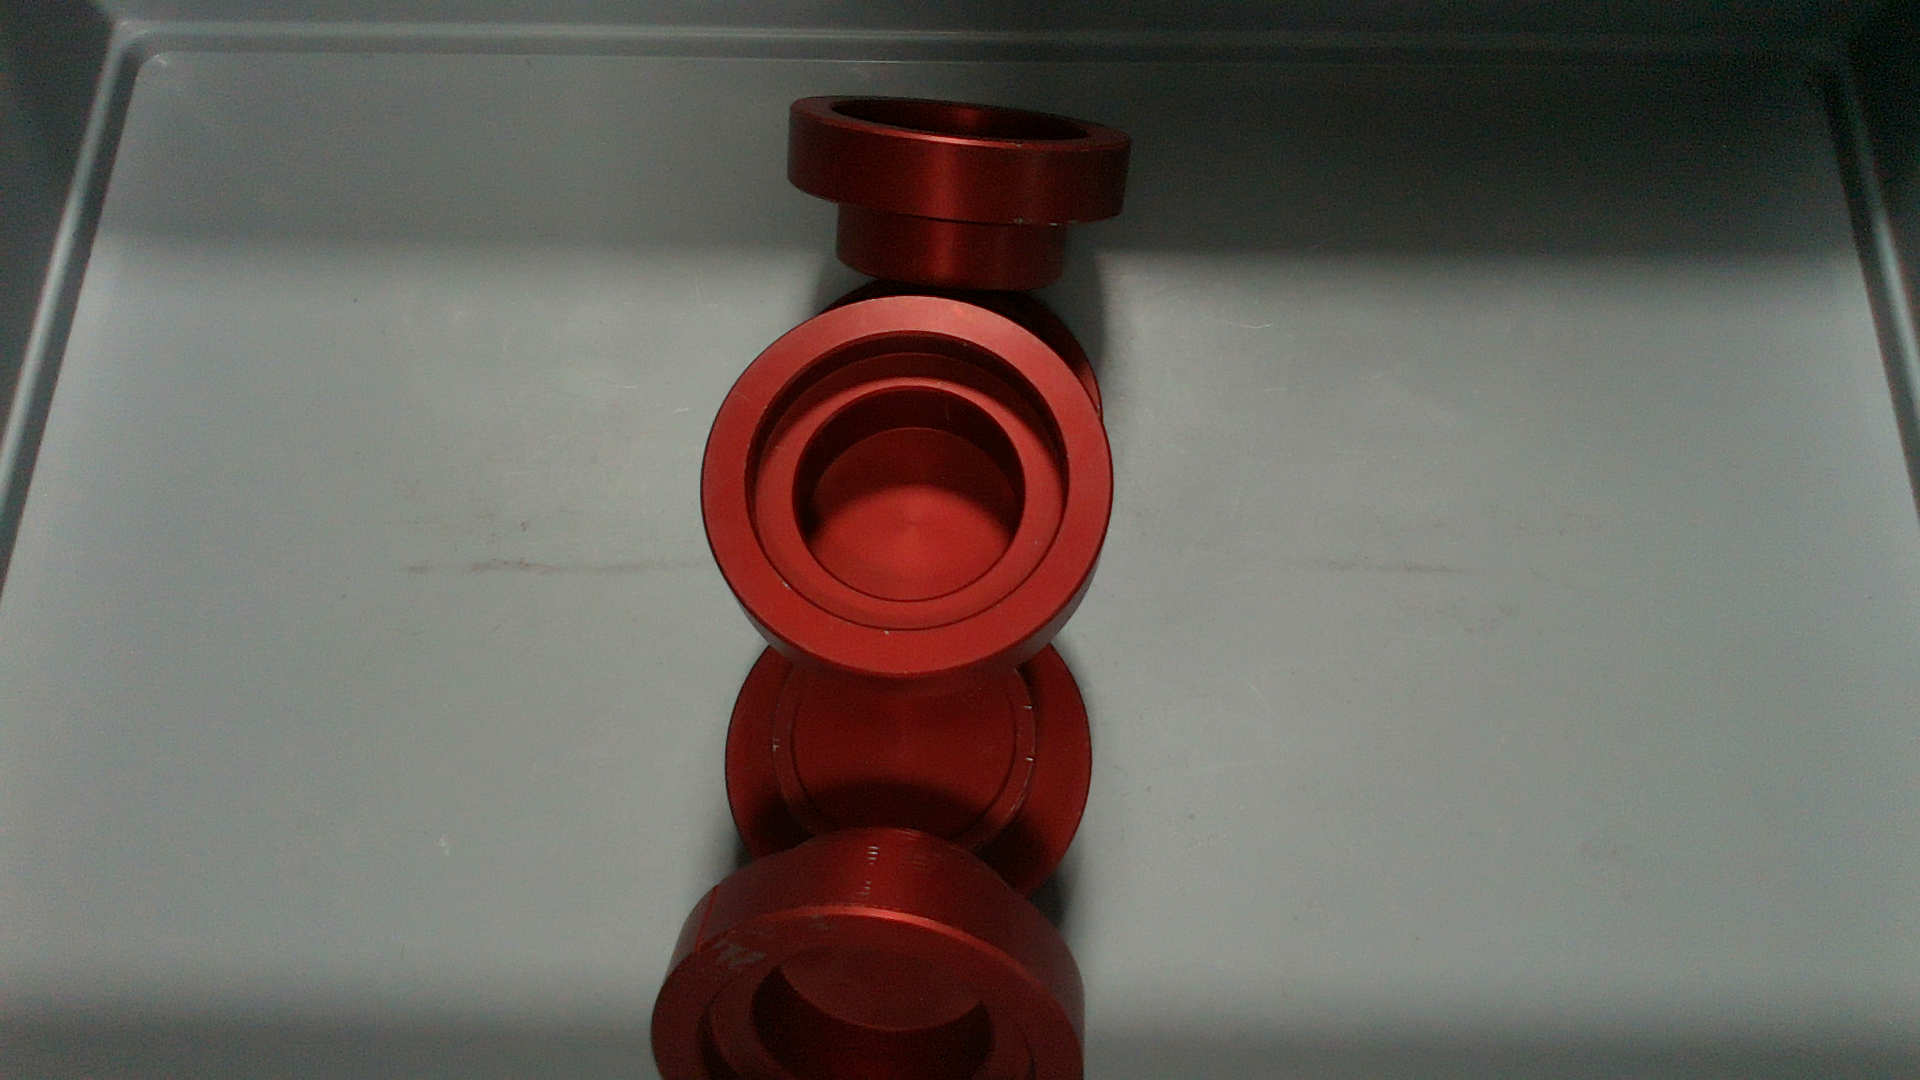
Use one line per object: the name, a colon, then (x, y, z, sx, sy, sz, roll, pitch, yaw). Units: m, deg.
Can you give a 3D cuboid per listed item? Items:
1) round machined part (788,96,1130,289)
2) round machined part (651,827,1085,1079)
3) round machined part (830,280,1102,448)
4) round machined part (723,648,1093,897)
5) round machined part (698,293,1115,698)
round machined part: (-0.002, -0.102, 0.402, 0.098, 0.098, 0.042, 7, 113, 2)
round machined part: (-0.019, 0.107, 0.326, 0.098, 0.098, 0.042, 6, 32, 2)
round machined part: (-0.008, -0.036, 0.397, 0.098, 0.042, 0.098, 0, 70, 0)
round machined part: (-0.014, 0.056, 0.363, 0.098, 0.042, 0.098, 0, 70, 0)
round machined part: (-0.012, -0.008, 0.341, 0.098, 0.042, 0.098, 0, 70, 0)
